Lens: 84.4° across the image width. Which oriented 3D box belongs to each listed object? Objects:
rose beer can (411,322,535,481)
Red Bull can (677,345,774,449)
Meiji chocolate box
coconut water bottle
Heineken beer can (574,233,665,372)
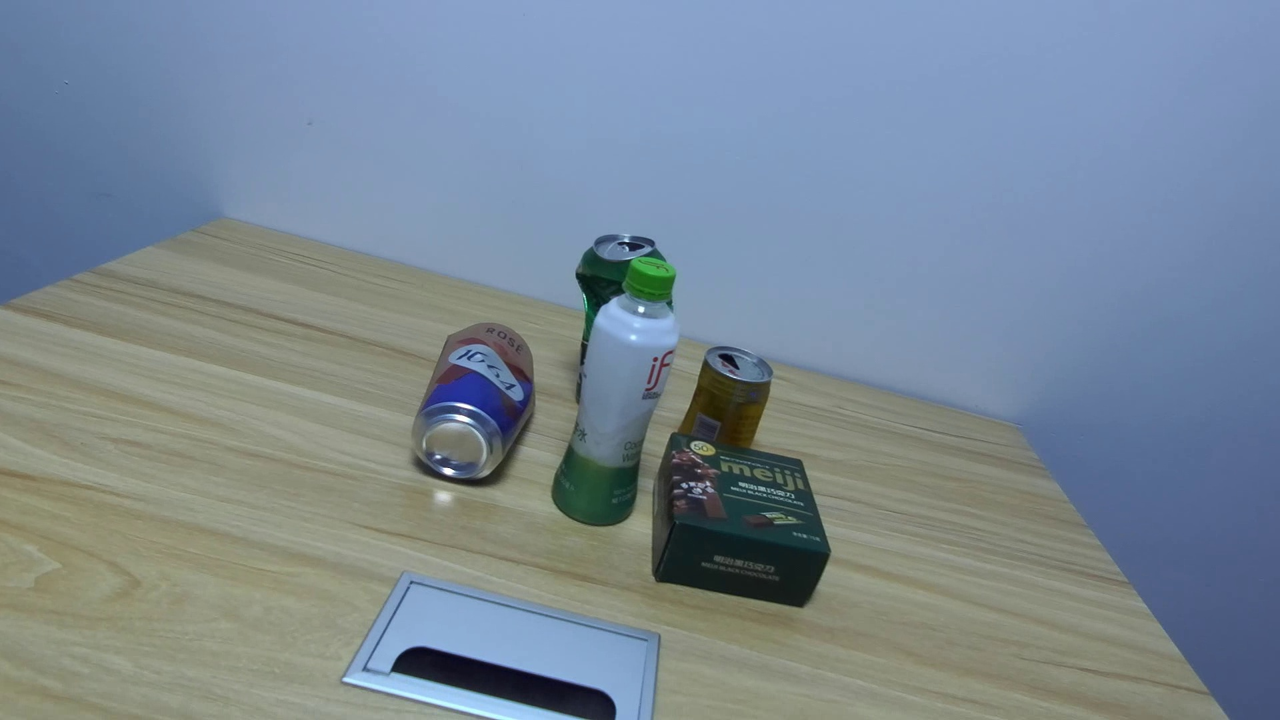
[{"bbox_3d":[-0.127,0.025,0.568,0.070,0.069,0.167,-7,26,3],"label":"rose beer can"},{"bbox_3d":[0.071,0.041,0.604,0.069,0.092,0.069,12,27,-6],"label":"Red Bull can"},{"bbox_3d":[0.068,0.113,0.510,0.110,0.056,0.109,13,26,-5],"label":"Meiji chocolate box"},{"bbox_3d":[-0.013,0.023,0.486,0.063,0.188,0.063,12,26,-6],"label":"coconut water bottle"},{"bbox_3d":[-0.012,-0.028,0.628,0.079,0.159,0.067,-3,25,-21],"label":"Heineken beer can"}]
